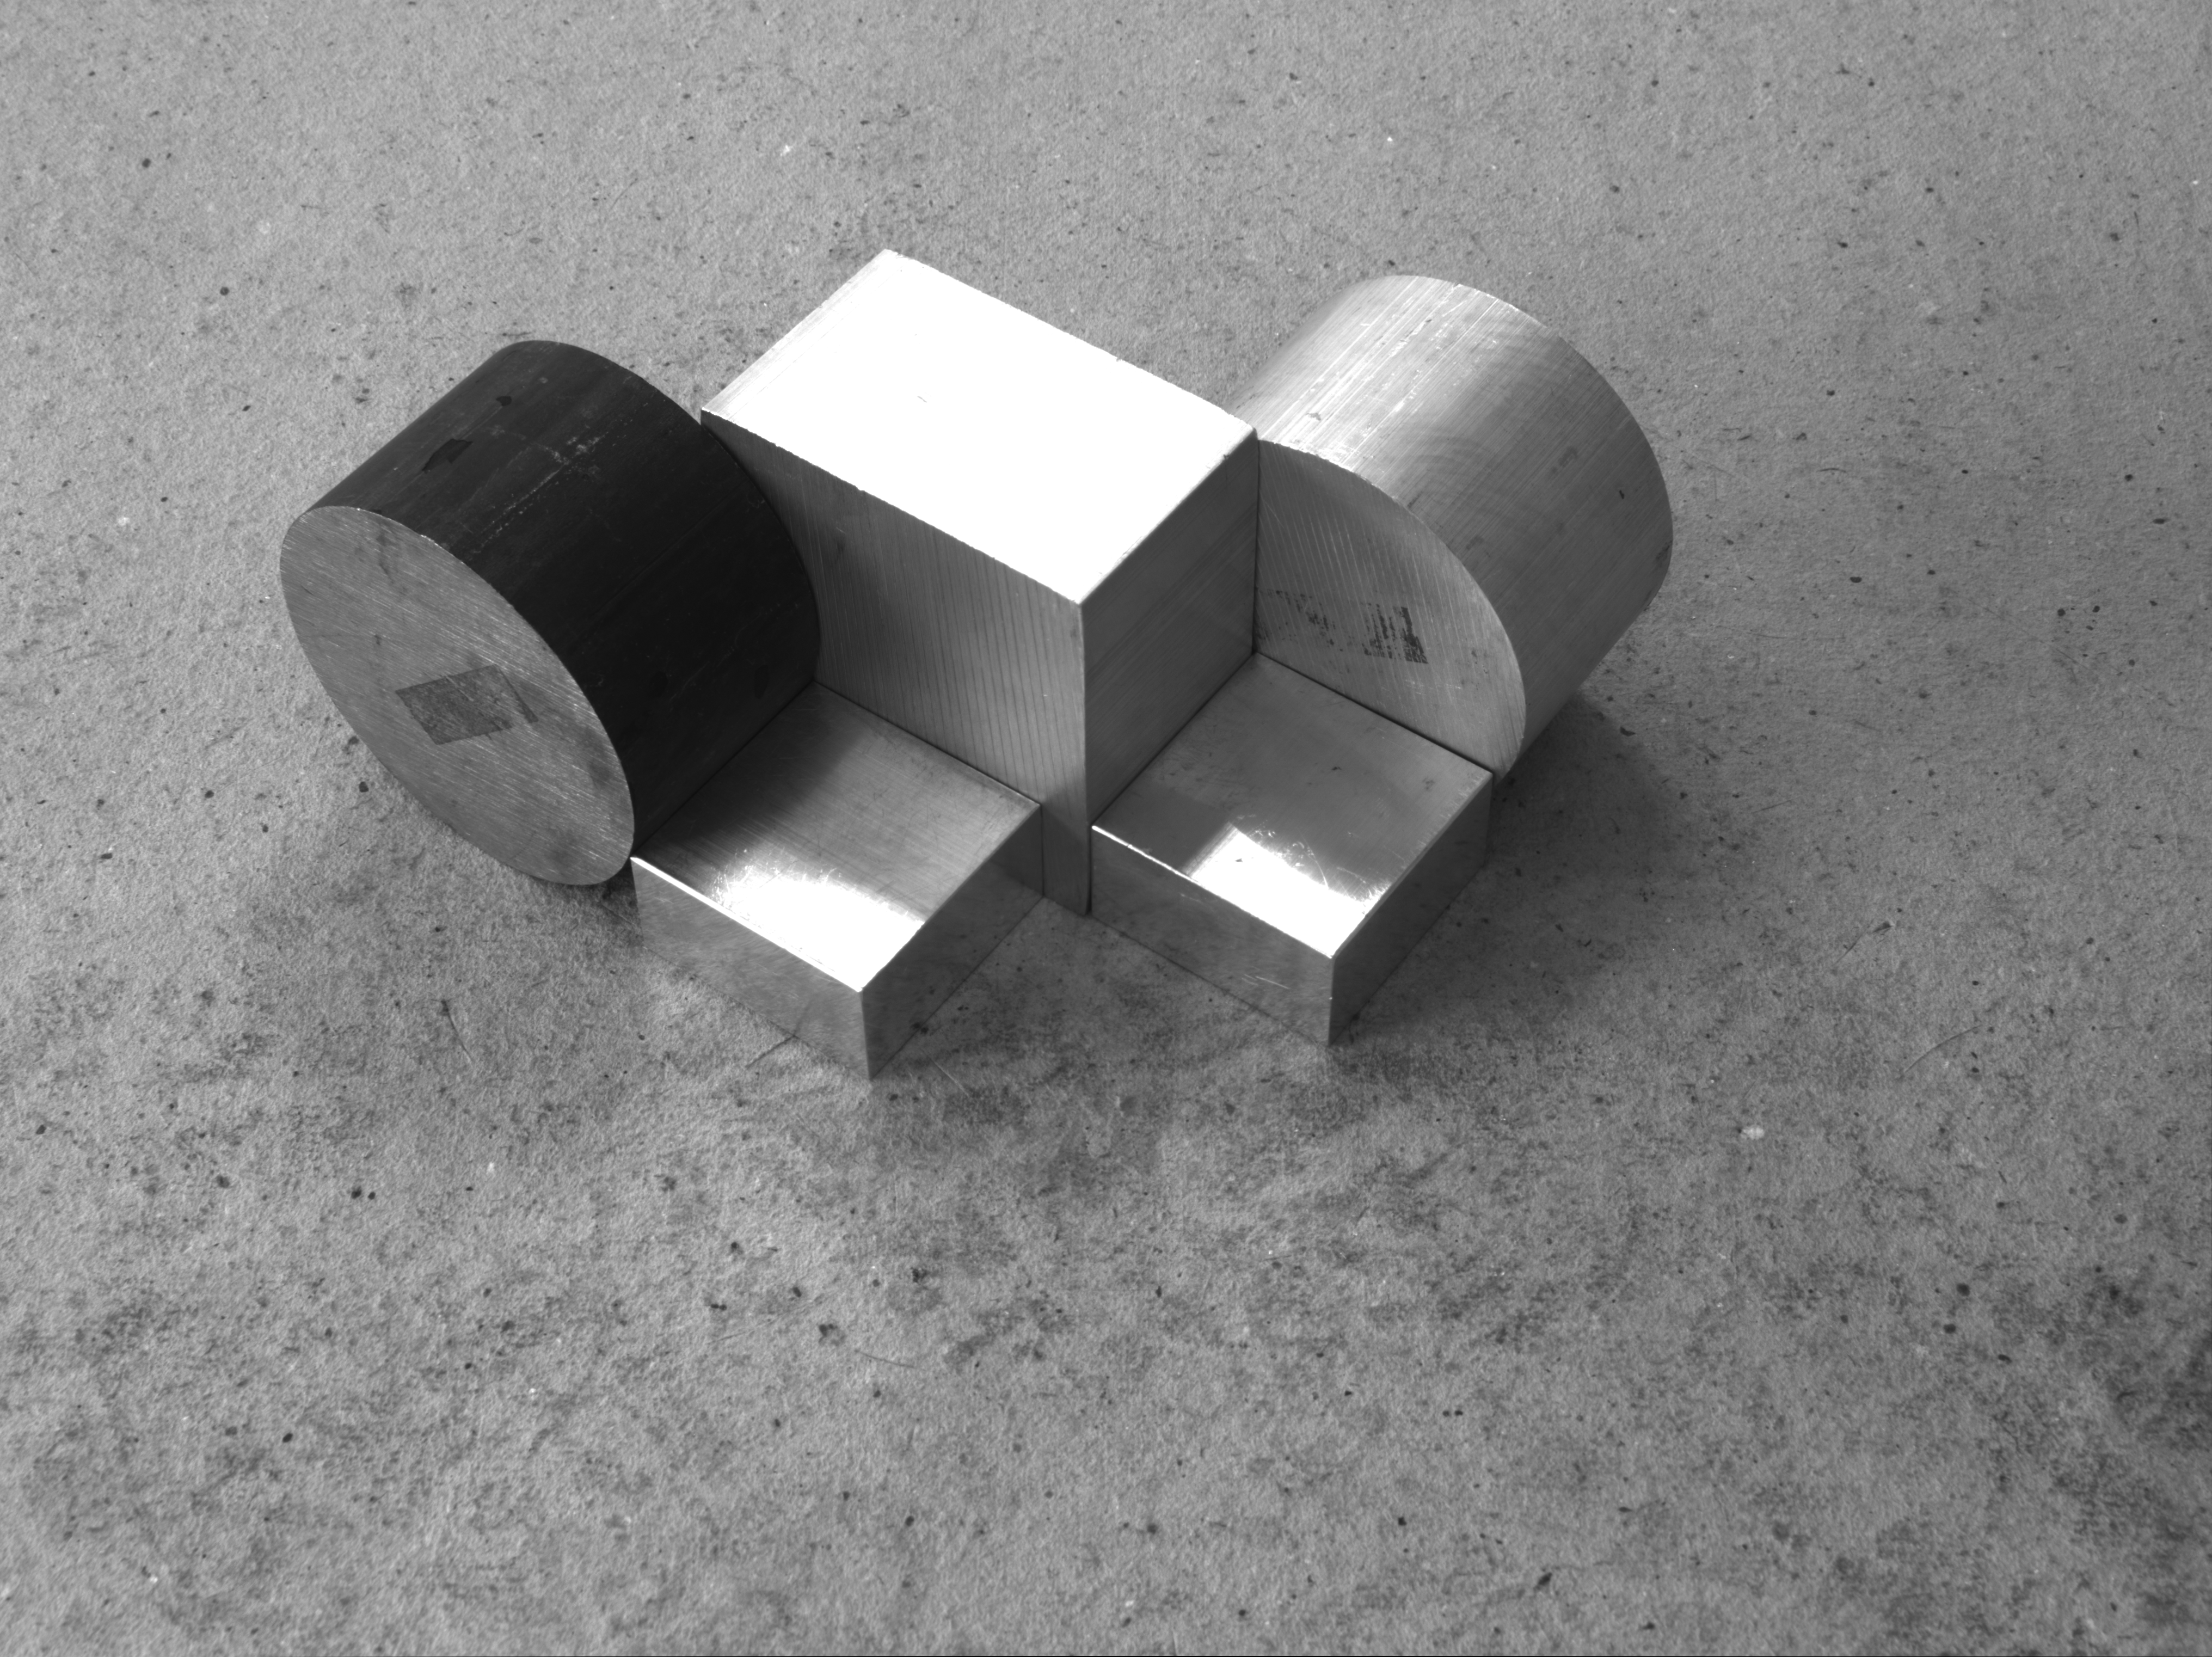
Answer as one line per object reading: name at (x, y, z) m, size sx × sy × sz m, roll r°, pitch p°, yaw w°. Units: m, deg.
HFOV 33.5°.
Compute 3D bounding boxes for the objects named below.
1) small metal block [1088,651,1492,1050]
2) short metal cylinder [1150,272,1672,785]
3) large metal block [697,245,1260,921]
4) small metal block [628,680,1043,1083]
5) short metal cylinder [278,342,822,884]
small metal block at (0.032, 0.003, 0.641) m, size 0.050 × 0.025 × 0.050 m, roll 28°, pitch 56°, yaw 22°
short metal cylinder at (0.053, -0.051, 0.650) m, size 0.080 × 0.080 × 0.050 m, roll 29°, pitch 56°, yaw 22°
large metal block at (-0.021, -0.043, 0.644) m, size 0.080 × 0.080 × 0.050 m, roll 28°, pitch 55°, yaw 22°
small metal block at (-0.046, 0.009, 0.637) m, size 0.050 × 0.025 × 0.050 m, roll 28°, pitch 56°, yaw 22°
short metal cylinder at (-0.096, -0.037, 0.639) m, size 0.080 × 0.080 × 0.050 m, roll 28°, pitch 56°, yaw 22°
